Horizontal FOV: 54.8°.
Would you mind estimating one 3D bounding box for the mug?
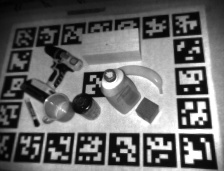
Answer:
[{"bbox_3d":[-0.204,0.075,0.752,0.117,0.082,0.092,-46,70,-3],"label":"mug"}]

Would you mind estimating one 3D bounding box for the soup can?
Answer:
[{"bbox_3d":[-0.101,0.062,0.719,0.067,0.103,0.067,-4,66,9],"label":"soup can"}]

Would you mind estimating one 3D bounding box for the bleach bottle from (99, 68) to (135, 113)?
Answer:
[{"bbox_3d":[0.008,0.006,0.642,0.067,0.253,0.103,28,77,21],"label":"bleach bottle"}]

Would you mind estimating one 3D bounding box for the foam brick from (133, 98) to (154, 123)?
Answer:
[{"bbox_3d":[0.101,0.077,0.694,0.052,0.079,0.051,32,78,23],"label":"foam brick"}]

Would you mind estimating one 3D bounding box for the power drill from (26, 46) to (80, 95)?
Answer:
[{"bbox_3d":[-0.239,-0.055,0.826,0.183,0.058,0.187,28,77,16],"label":"power drill"}]

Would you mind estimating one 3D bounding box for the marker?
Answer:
[{"bbox_3d":[-0.309,0.092,0.804,0.019,0.020,0.120,-30,68,3],"label":"marker"}]

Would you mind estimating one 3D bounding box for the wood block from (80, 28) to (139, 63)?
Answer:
[{"bbox_3d":[-0.010,-0.145,0.789,0.205,0.092,0.089,-3,71,11],"label":"wood block"}]

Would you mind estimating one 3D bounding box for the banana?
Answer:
[{"bbox_3d":[0.069,-0.057,0.765,0.196,0.039,0.074,14,88,14],"label":"banana"}]
